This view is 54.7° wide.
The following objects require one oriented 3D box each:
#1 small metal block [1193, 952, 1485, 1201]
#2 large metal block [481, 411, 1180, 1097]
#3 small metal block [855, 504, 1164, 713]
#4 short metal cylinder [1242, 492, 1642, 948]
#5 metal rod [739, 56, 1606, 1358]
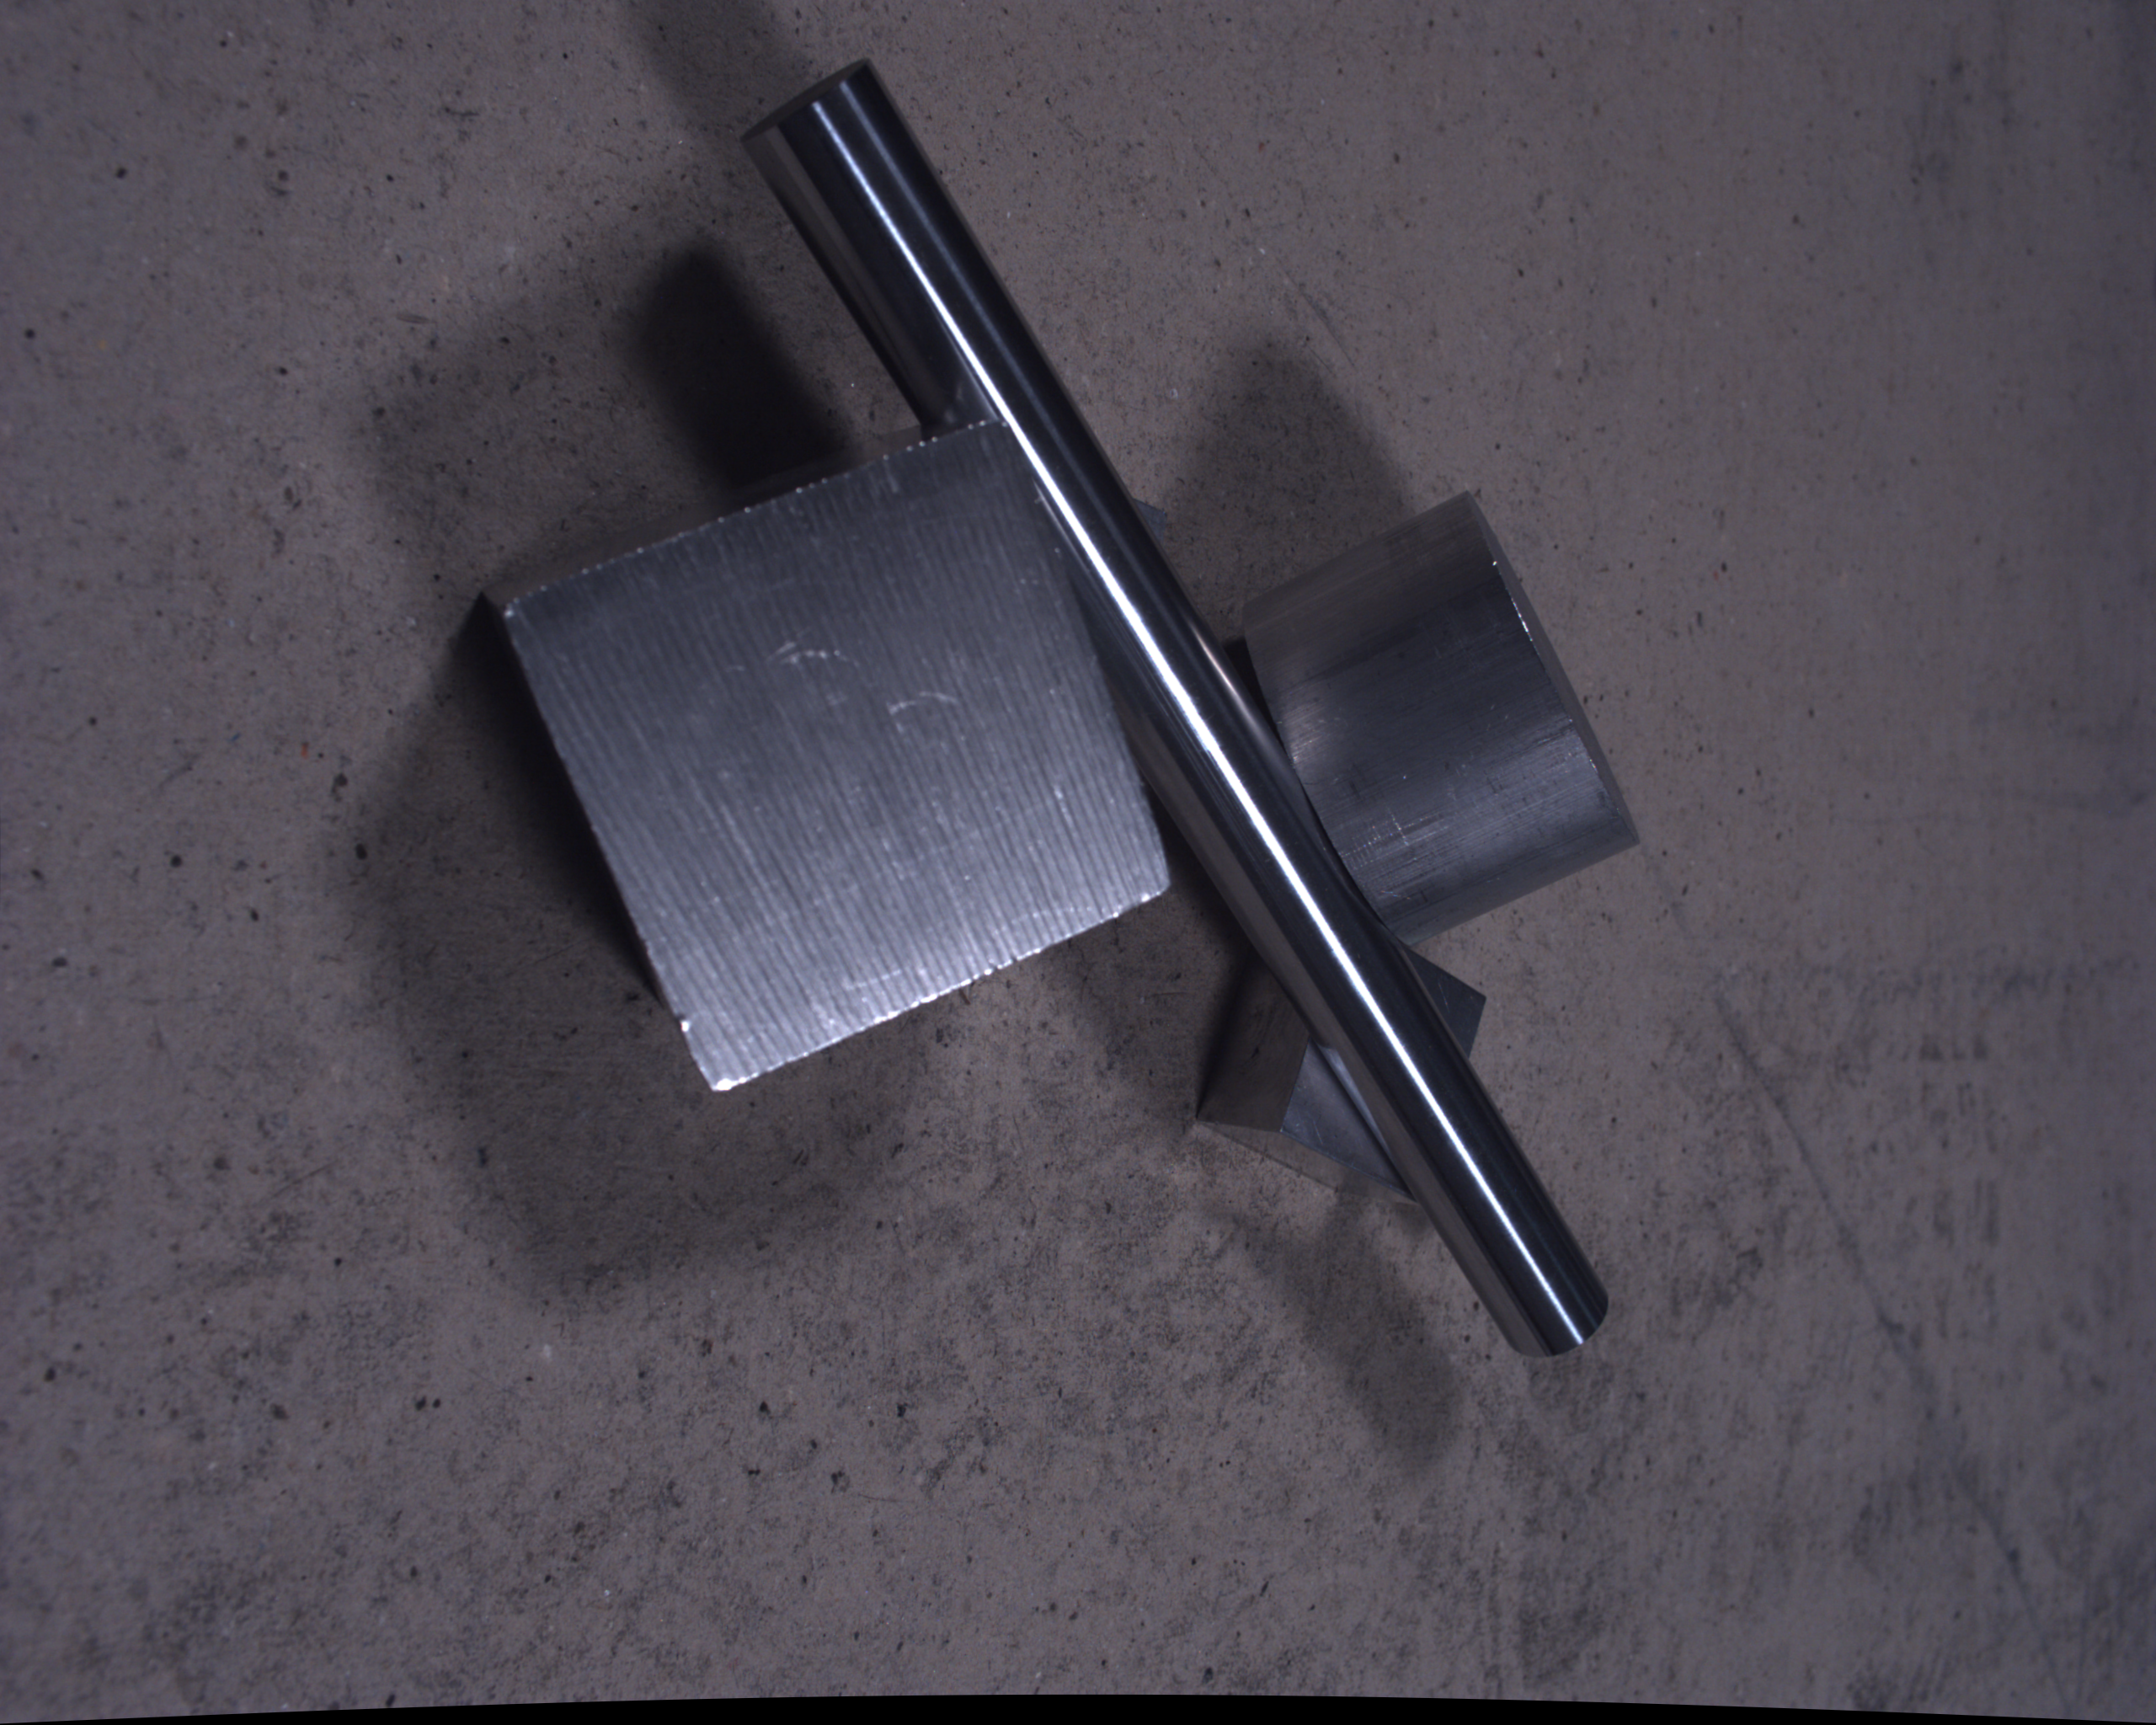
[{"bbox_3d":[0.058,0.042,0.458,0.050,0.025,0.050,31,71,-36],"label":"small metal block"},{"bbox_3d":[-0.040,-0.021,0.336,0.081,0.050,0.080,-24,107,-13],"label":"large metal block"},{"bbox_3d":[-0.014,-0.049,0.396,0.050,0.025,0.050,16,80,-39],"label":"small metal block"},{"bbox_3d":[0.075,-0.029,0.429,0.080,0.050,0.080,56,18,-27],"label":"short metal cylinder"},{"bbox_3d":[0.031,-0.012,0.402,0.025,0.025,0.299,-49,119,-29],"label":"metal rod"}]
